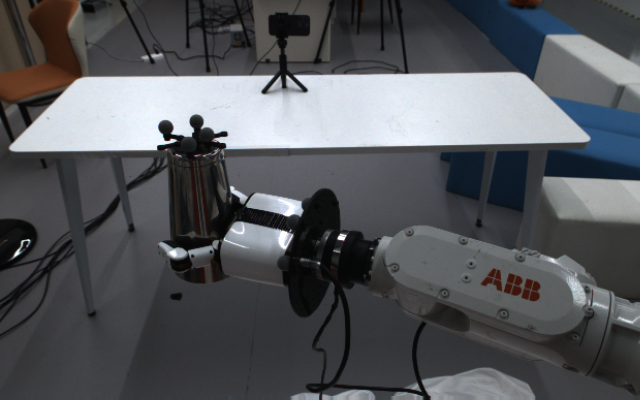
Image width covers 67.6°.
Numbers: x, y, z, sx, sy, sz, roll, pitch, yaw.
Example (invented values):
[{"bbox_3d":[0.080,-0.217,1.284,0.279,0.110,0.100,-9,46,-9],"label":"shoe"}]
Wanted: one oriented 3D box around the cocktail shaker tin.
[{"bbox_3d":[-0.151,0.011,0.622,0.093,0.170,0.093,1,28,0],"label":"cocktail shaker tin"}]
